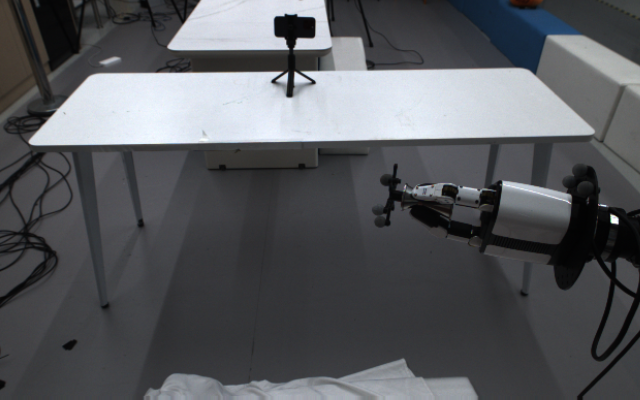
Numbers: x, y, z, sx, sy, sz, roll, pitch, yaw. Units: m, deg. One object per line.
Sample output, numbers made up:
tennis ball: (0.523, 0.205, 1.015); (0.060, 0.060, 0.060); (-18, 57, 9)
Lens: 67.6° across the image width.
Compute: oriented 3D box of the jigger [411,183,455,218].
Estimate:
jigger: (0.155, -0.003, 0.664); (0.071, 0.043, 0.043); (10, 35, 15)
